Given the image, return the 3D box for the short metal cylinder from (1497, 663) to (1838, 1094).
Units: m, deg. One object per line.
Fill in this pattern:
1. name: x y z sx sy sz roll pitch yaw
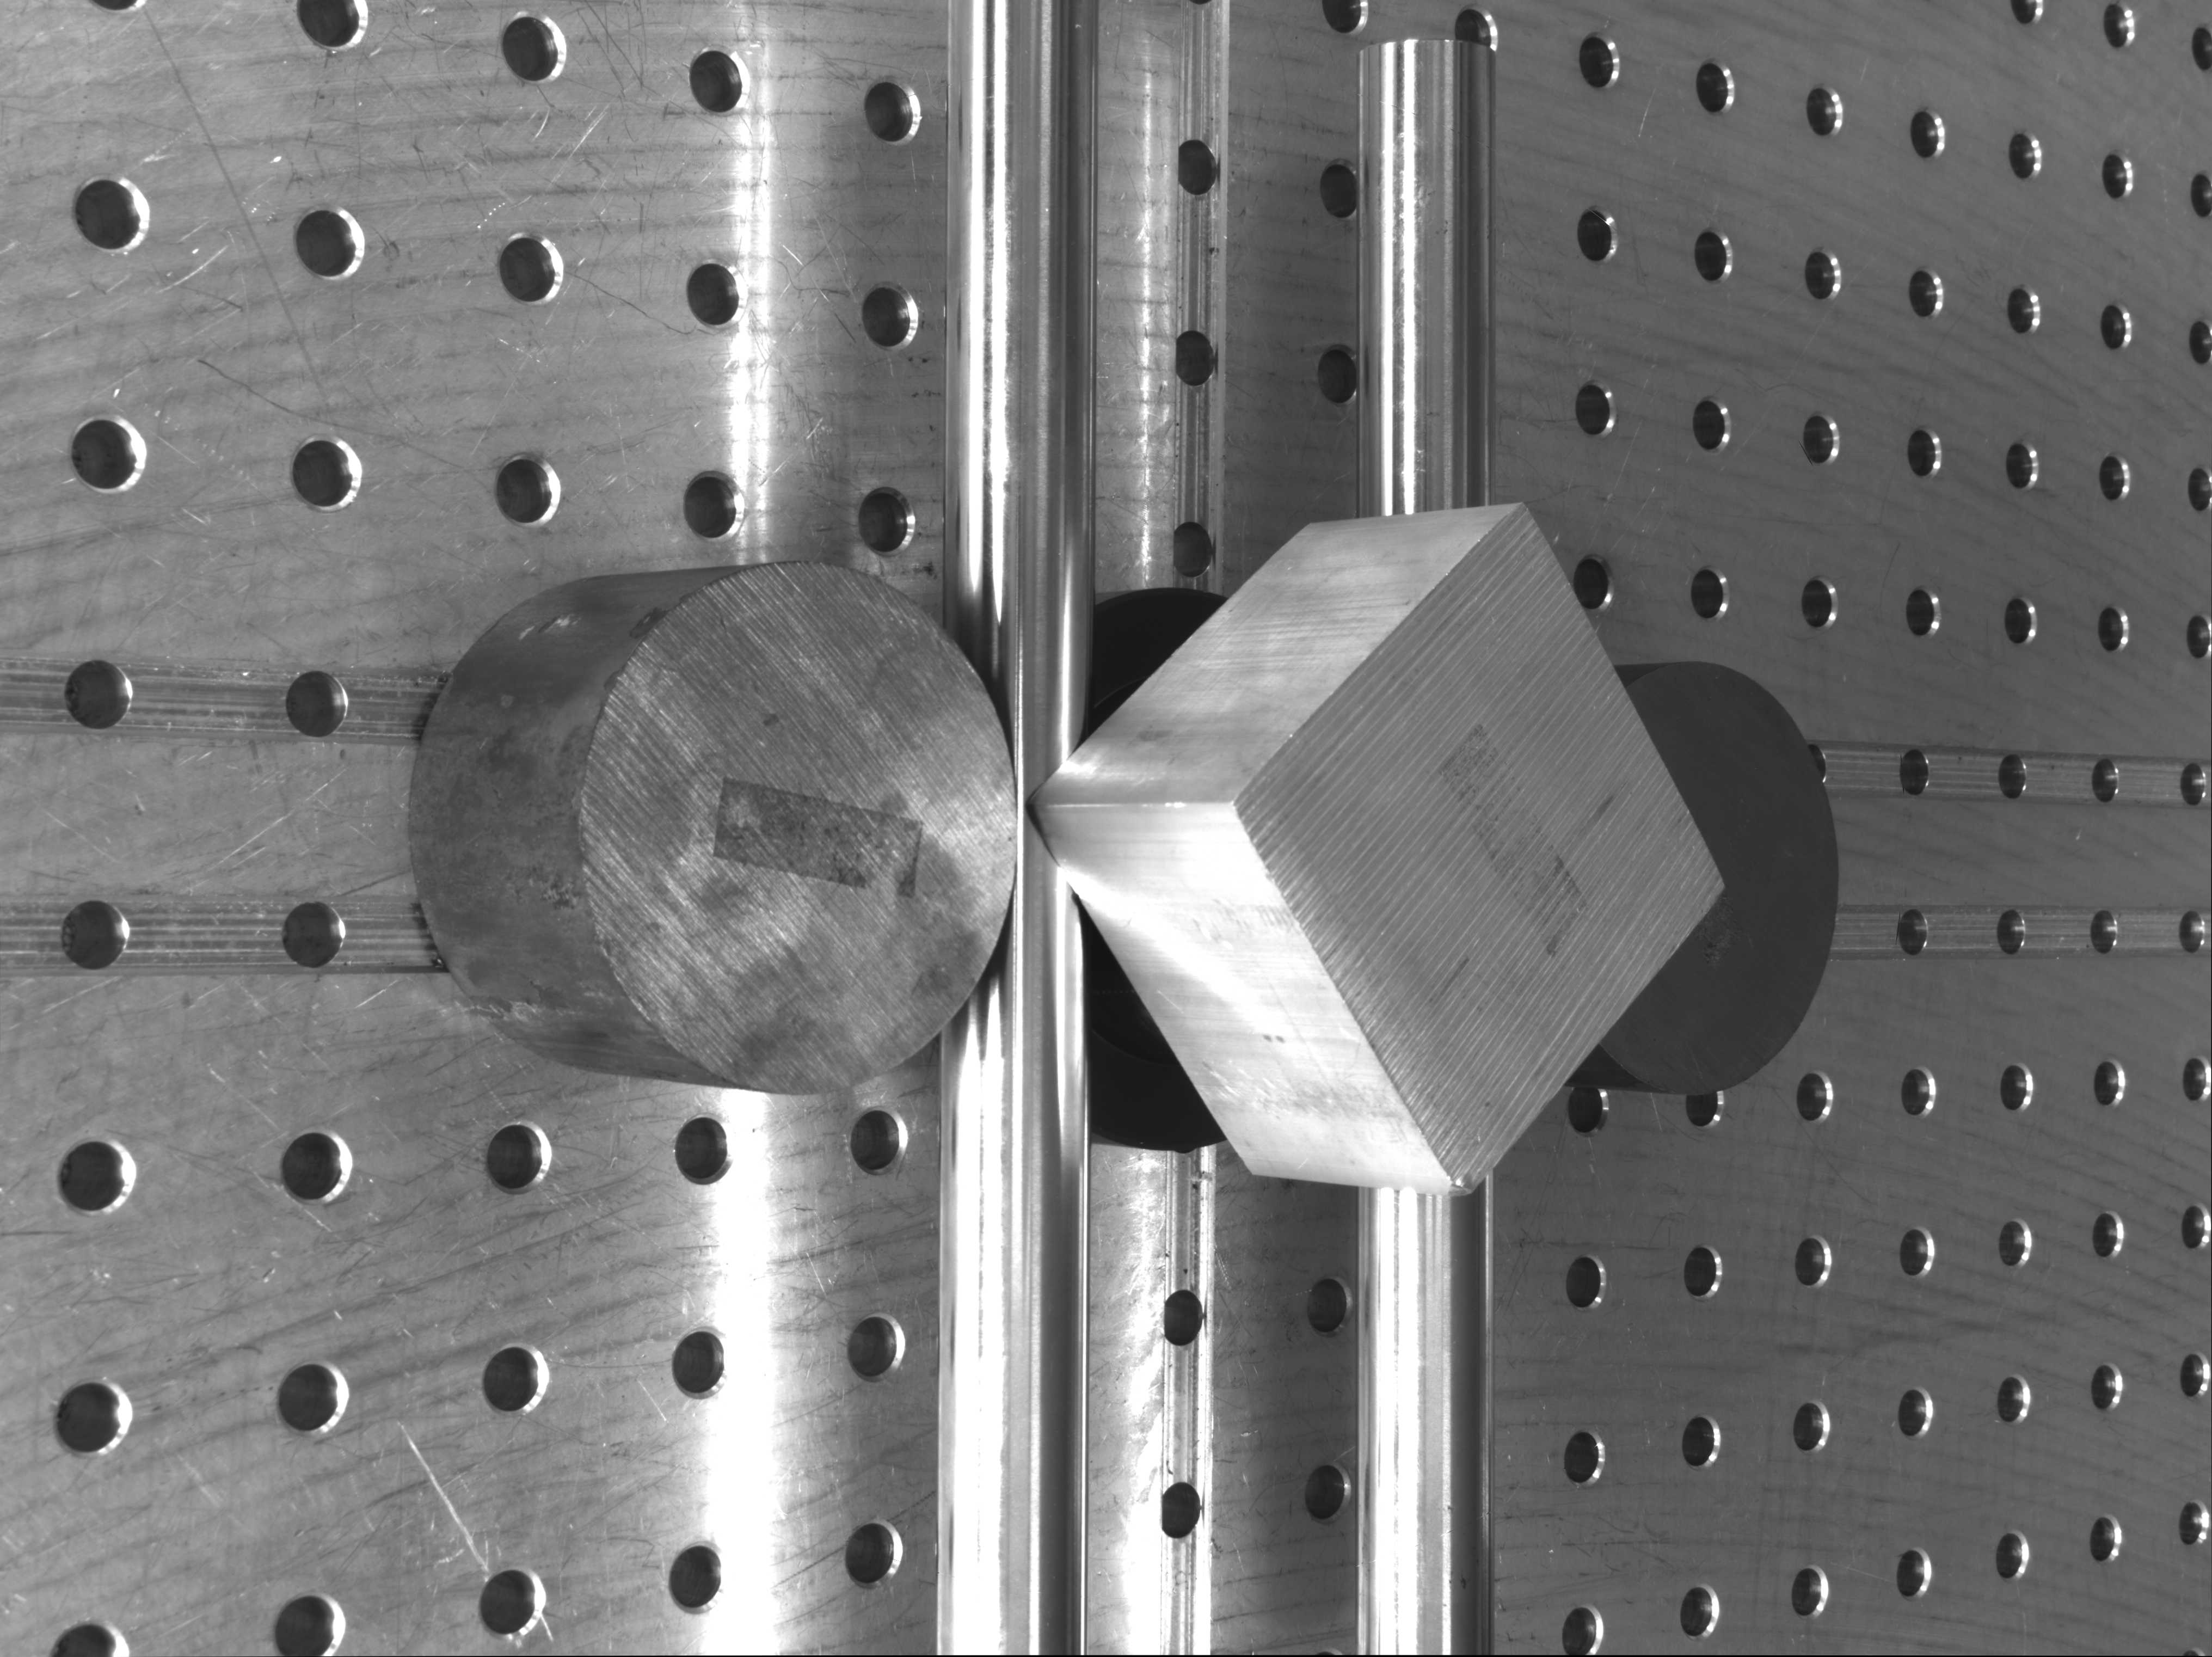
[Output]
1. short metal cylinder: 0.094 0.009 0.700 0.080 0.050 0.080 0 90 -40

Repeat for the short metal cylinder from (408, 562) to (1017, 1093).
1. short metal cylinder: -0.061 0.000 0.572 0.080 0.050 0.080 0 90 -40

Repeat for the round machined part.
1. round machined part: 0.013 0.007 0.639 0.098 0.042 0.098 0 90 -40

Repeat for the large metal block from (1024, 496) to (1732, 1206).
1. large metal block: 0.046 0.003 0.599 0.080 0.050 0.080 -46 117 -30

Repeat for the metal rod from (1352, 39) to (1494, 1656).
1. metal rod: 0.057 0.011 0.659 0.025 0.025 0.300 0 90 -40

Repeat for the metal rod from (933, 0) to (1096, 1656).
1. metal rod: -0.015 0.012 0.599 0.025 0.025 0.300 1 89 -40
